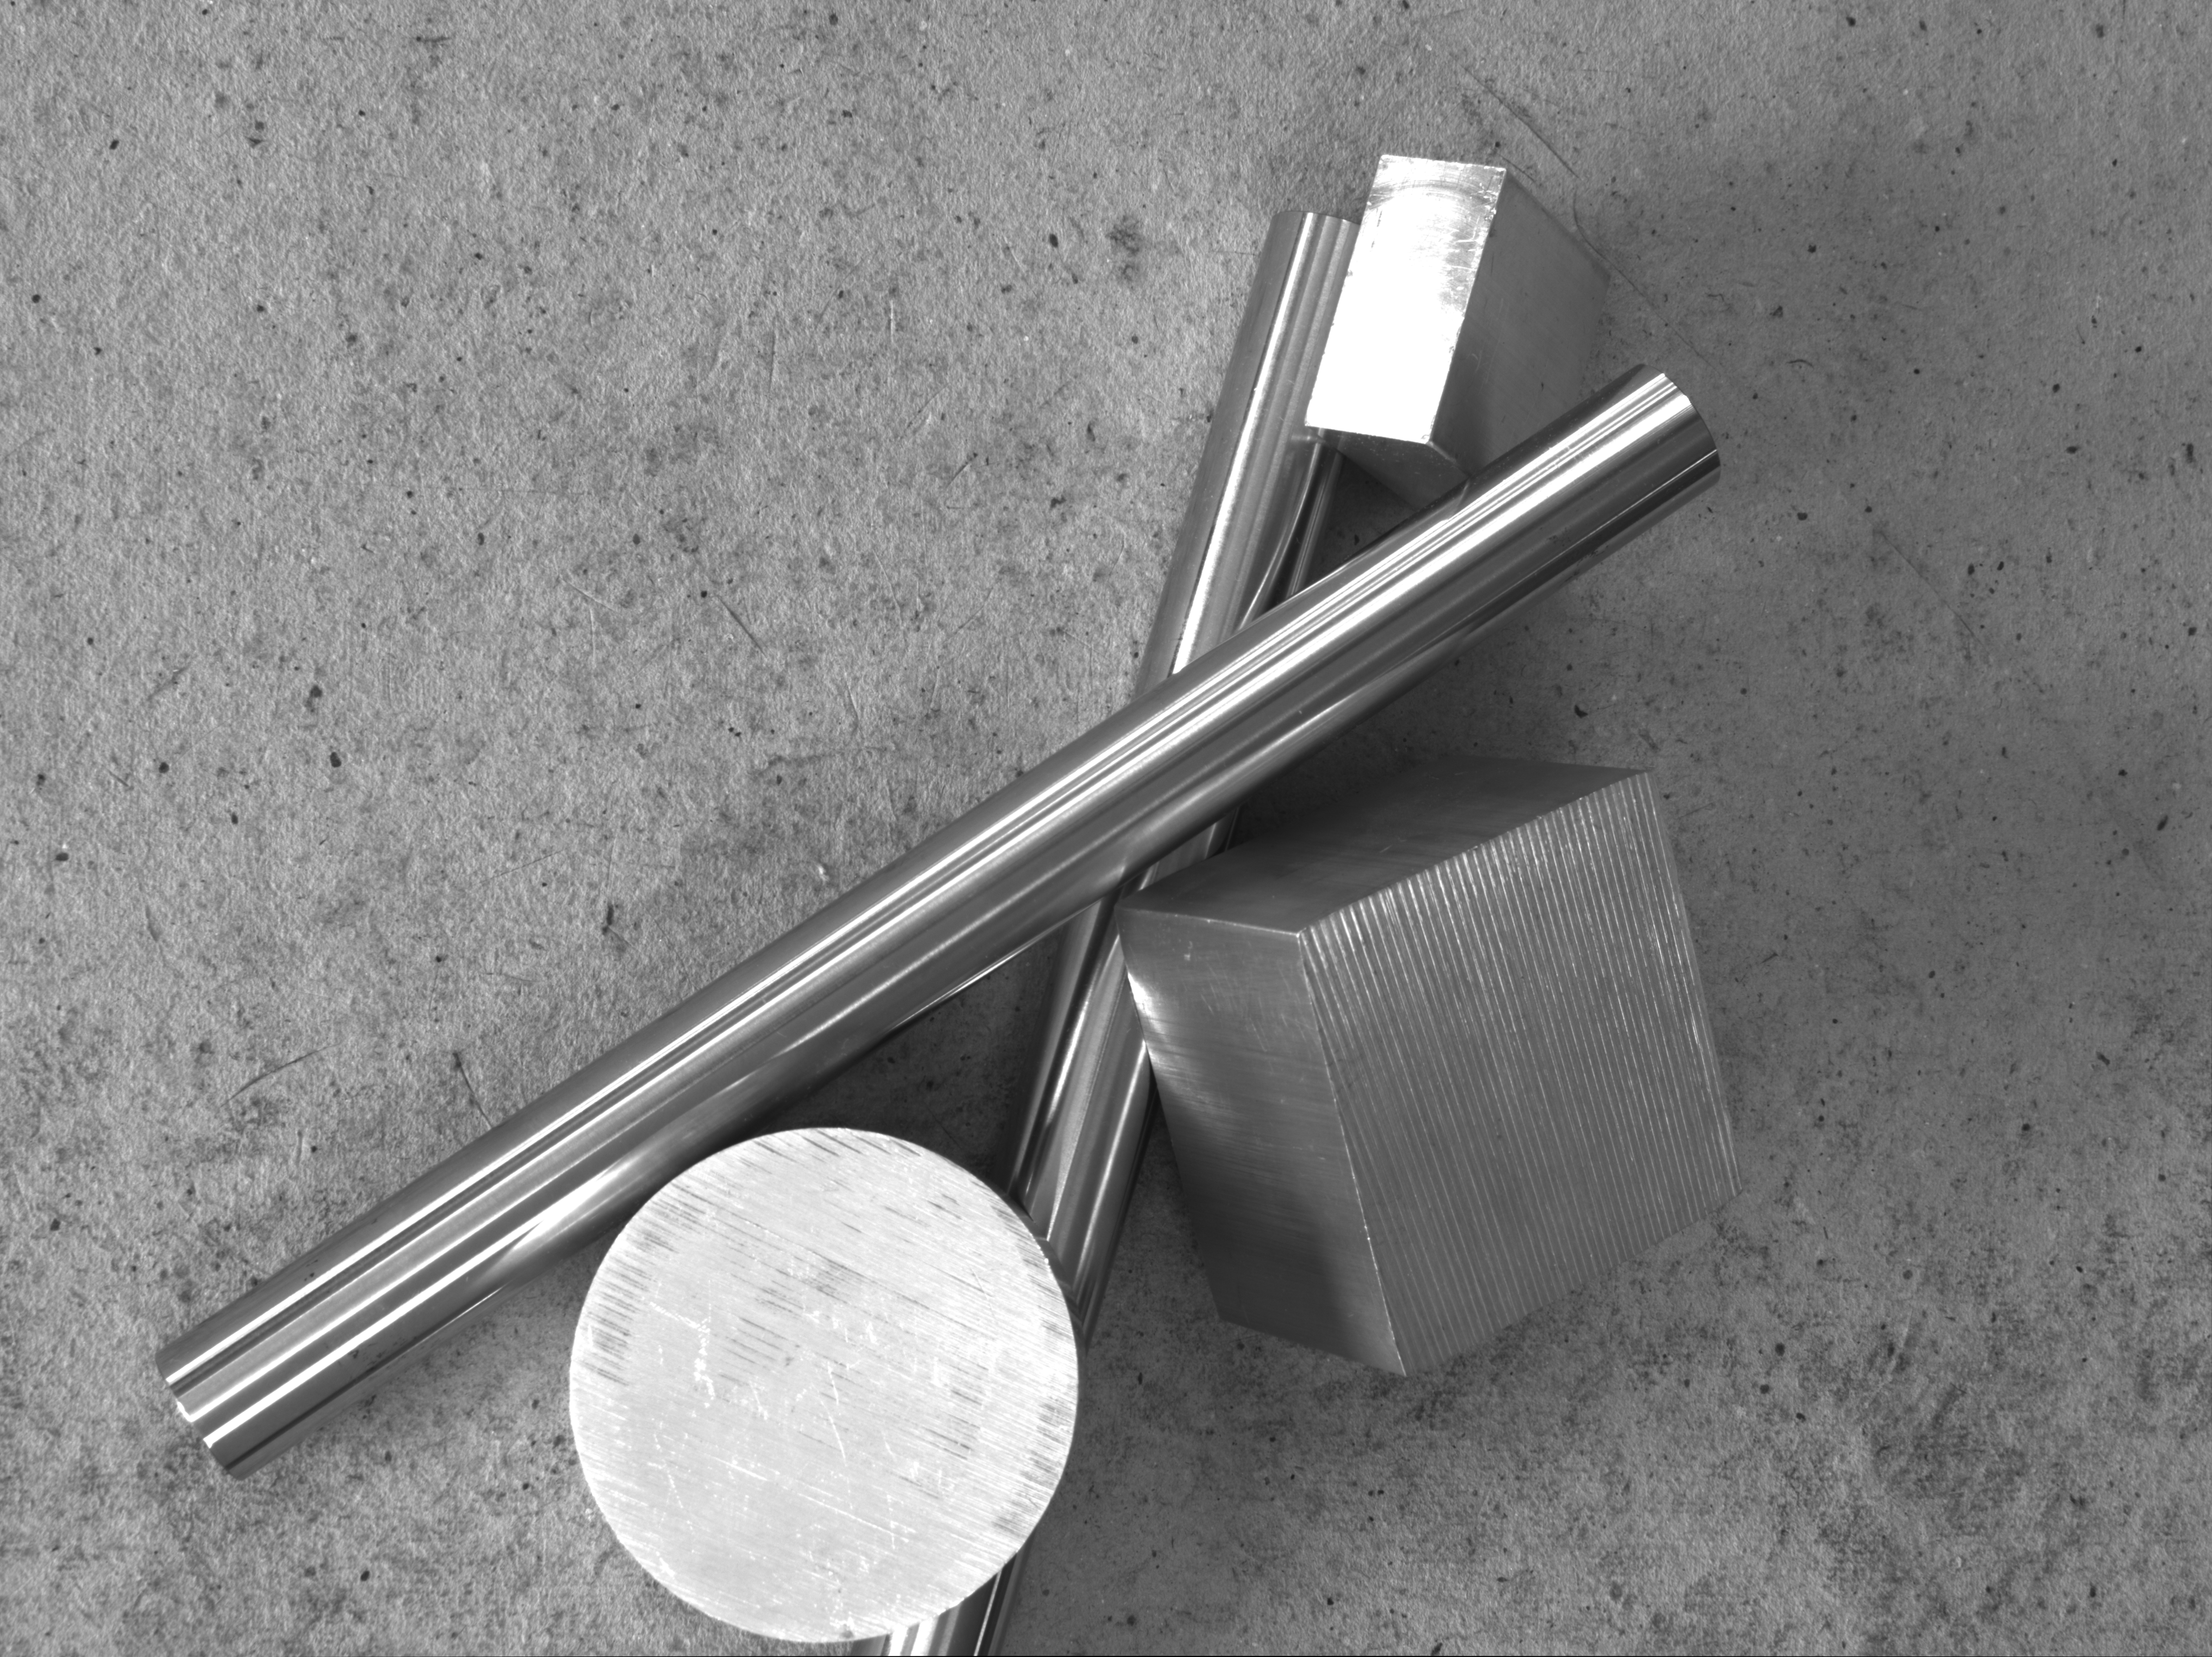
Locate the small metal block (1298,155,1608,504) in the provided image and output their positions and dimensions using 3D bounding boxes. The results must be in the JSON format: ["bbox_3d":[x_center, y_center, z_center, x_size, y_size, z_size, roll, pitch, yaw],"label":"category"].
[{"bbox_3d":[0.062,-0.086,0.653,0.050,0.025,0.050,26,78,-58],"label":"small metal block"}]

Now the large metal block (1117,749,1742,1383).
[{"bbox_3d":[0.056,0.038,0.635,0.080,0.050,0.080,-23,107,-31],"label":"large metal block"}]

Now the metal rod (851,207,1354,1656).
[{"bbox_3d":[0.000,0.037,0.643,0.025,0.025,0.300,18,84,-19],"label":"metal rod"}]

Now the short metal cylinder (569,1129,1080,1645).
[{"bbox_3d":[-0.044,0.090,0.601,0.080,0.050,0.080,0,83,1],"label":"short metal cylinder"}]

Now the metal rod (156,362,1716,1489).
[{"bbox_3d":[-0.023,0.013,0.617,0.300,0.025,0.025,-34,101,-10],"label":"metal rod"}]
